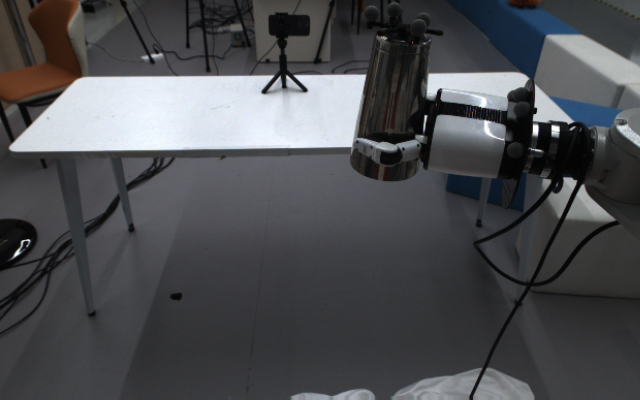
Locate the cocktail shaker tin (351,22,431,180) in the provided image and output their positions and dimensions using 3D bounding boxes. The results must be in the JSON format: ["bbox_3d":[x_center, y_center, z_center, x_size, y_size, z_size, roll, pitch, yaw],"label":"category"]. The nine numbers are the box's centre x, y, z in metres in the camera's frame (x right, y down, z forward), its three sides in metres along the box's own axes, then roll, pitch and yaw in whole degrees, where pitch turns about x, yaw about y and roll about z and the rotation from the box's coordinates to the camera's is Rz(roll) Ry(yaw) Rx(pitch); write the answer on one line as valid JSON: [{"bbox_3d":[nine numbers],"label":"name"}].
[{"bbox_3d":[0.093,-0.120,0.606,0.093,0.170,0.093,3,34,-2],"label":"cocktail shaker tin"}]
